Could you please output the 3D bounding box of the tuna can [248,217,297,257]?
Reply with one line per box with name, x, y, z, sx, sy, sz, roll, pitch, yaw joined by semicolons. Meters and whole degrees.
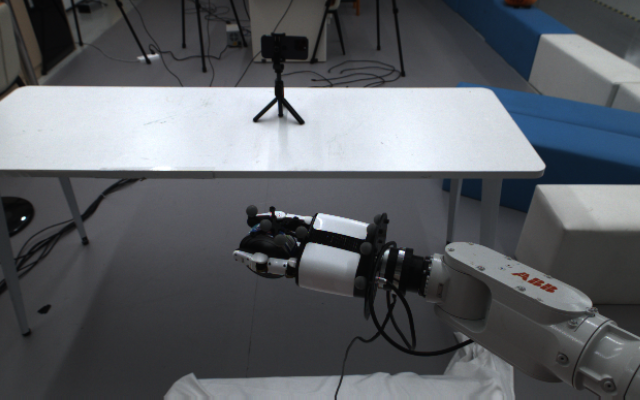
tuna can;-0.076;0.075;0.738;0.085;0.085;0.034;12;33;14
